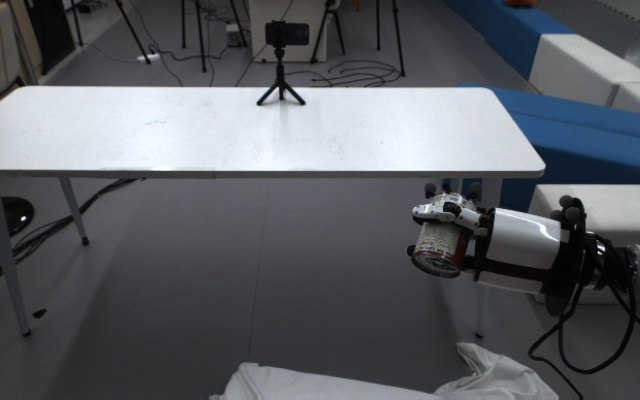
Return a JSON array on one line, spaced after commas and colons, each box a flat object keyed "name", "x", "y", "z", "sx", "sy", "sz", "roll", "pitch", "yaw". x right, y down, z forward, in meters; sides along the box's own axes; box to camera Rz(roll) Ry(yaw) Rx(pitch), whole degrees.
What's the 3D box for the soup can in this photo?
[{"name": "soup can", "x": 0.175, "y": 0.047, "z": 0.677, "sx": 0.067, "sy": 0.067, "sz": 0.101, "roll": 15, "pitch": 64, "yaw": 18}]
